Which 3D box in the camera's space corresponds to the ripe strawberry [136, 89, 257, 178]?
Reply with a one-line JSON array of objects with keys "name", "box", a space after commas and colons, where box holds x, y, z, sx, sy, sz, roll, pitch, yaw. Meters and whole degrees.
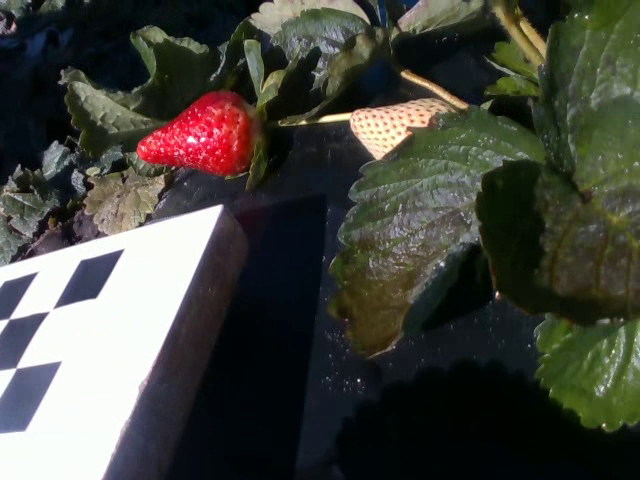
[{"name": "ripe strawberry", "box": [-0.055, -0.046, 0.285, 0.068, 0.040, 0.048, -19, 36, 11]}]
